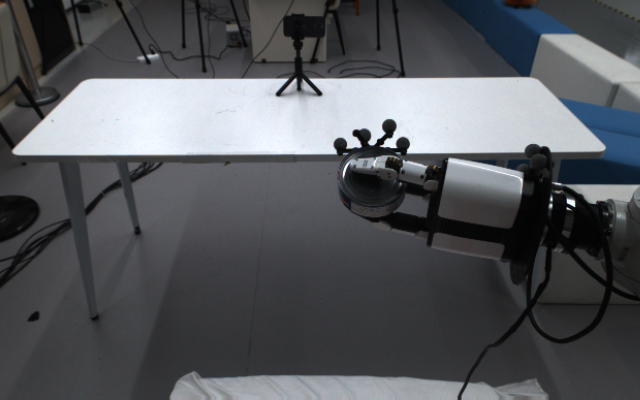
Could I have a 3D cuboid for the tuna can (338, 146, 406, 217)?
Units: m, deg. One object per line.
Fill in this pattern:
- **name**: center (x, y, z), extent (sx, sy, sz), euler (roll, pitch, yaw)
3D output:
- **tuna can**: center (0.065, -0.023, 0.592), extent (0.085, 0.034, 0.085), euler (-2, 58, 2)
